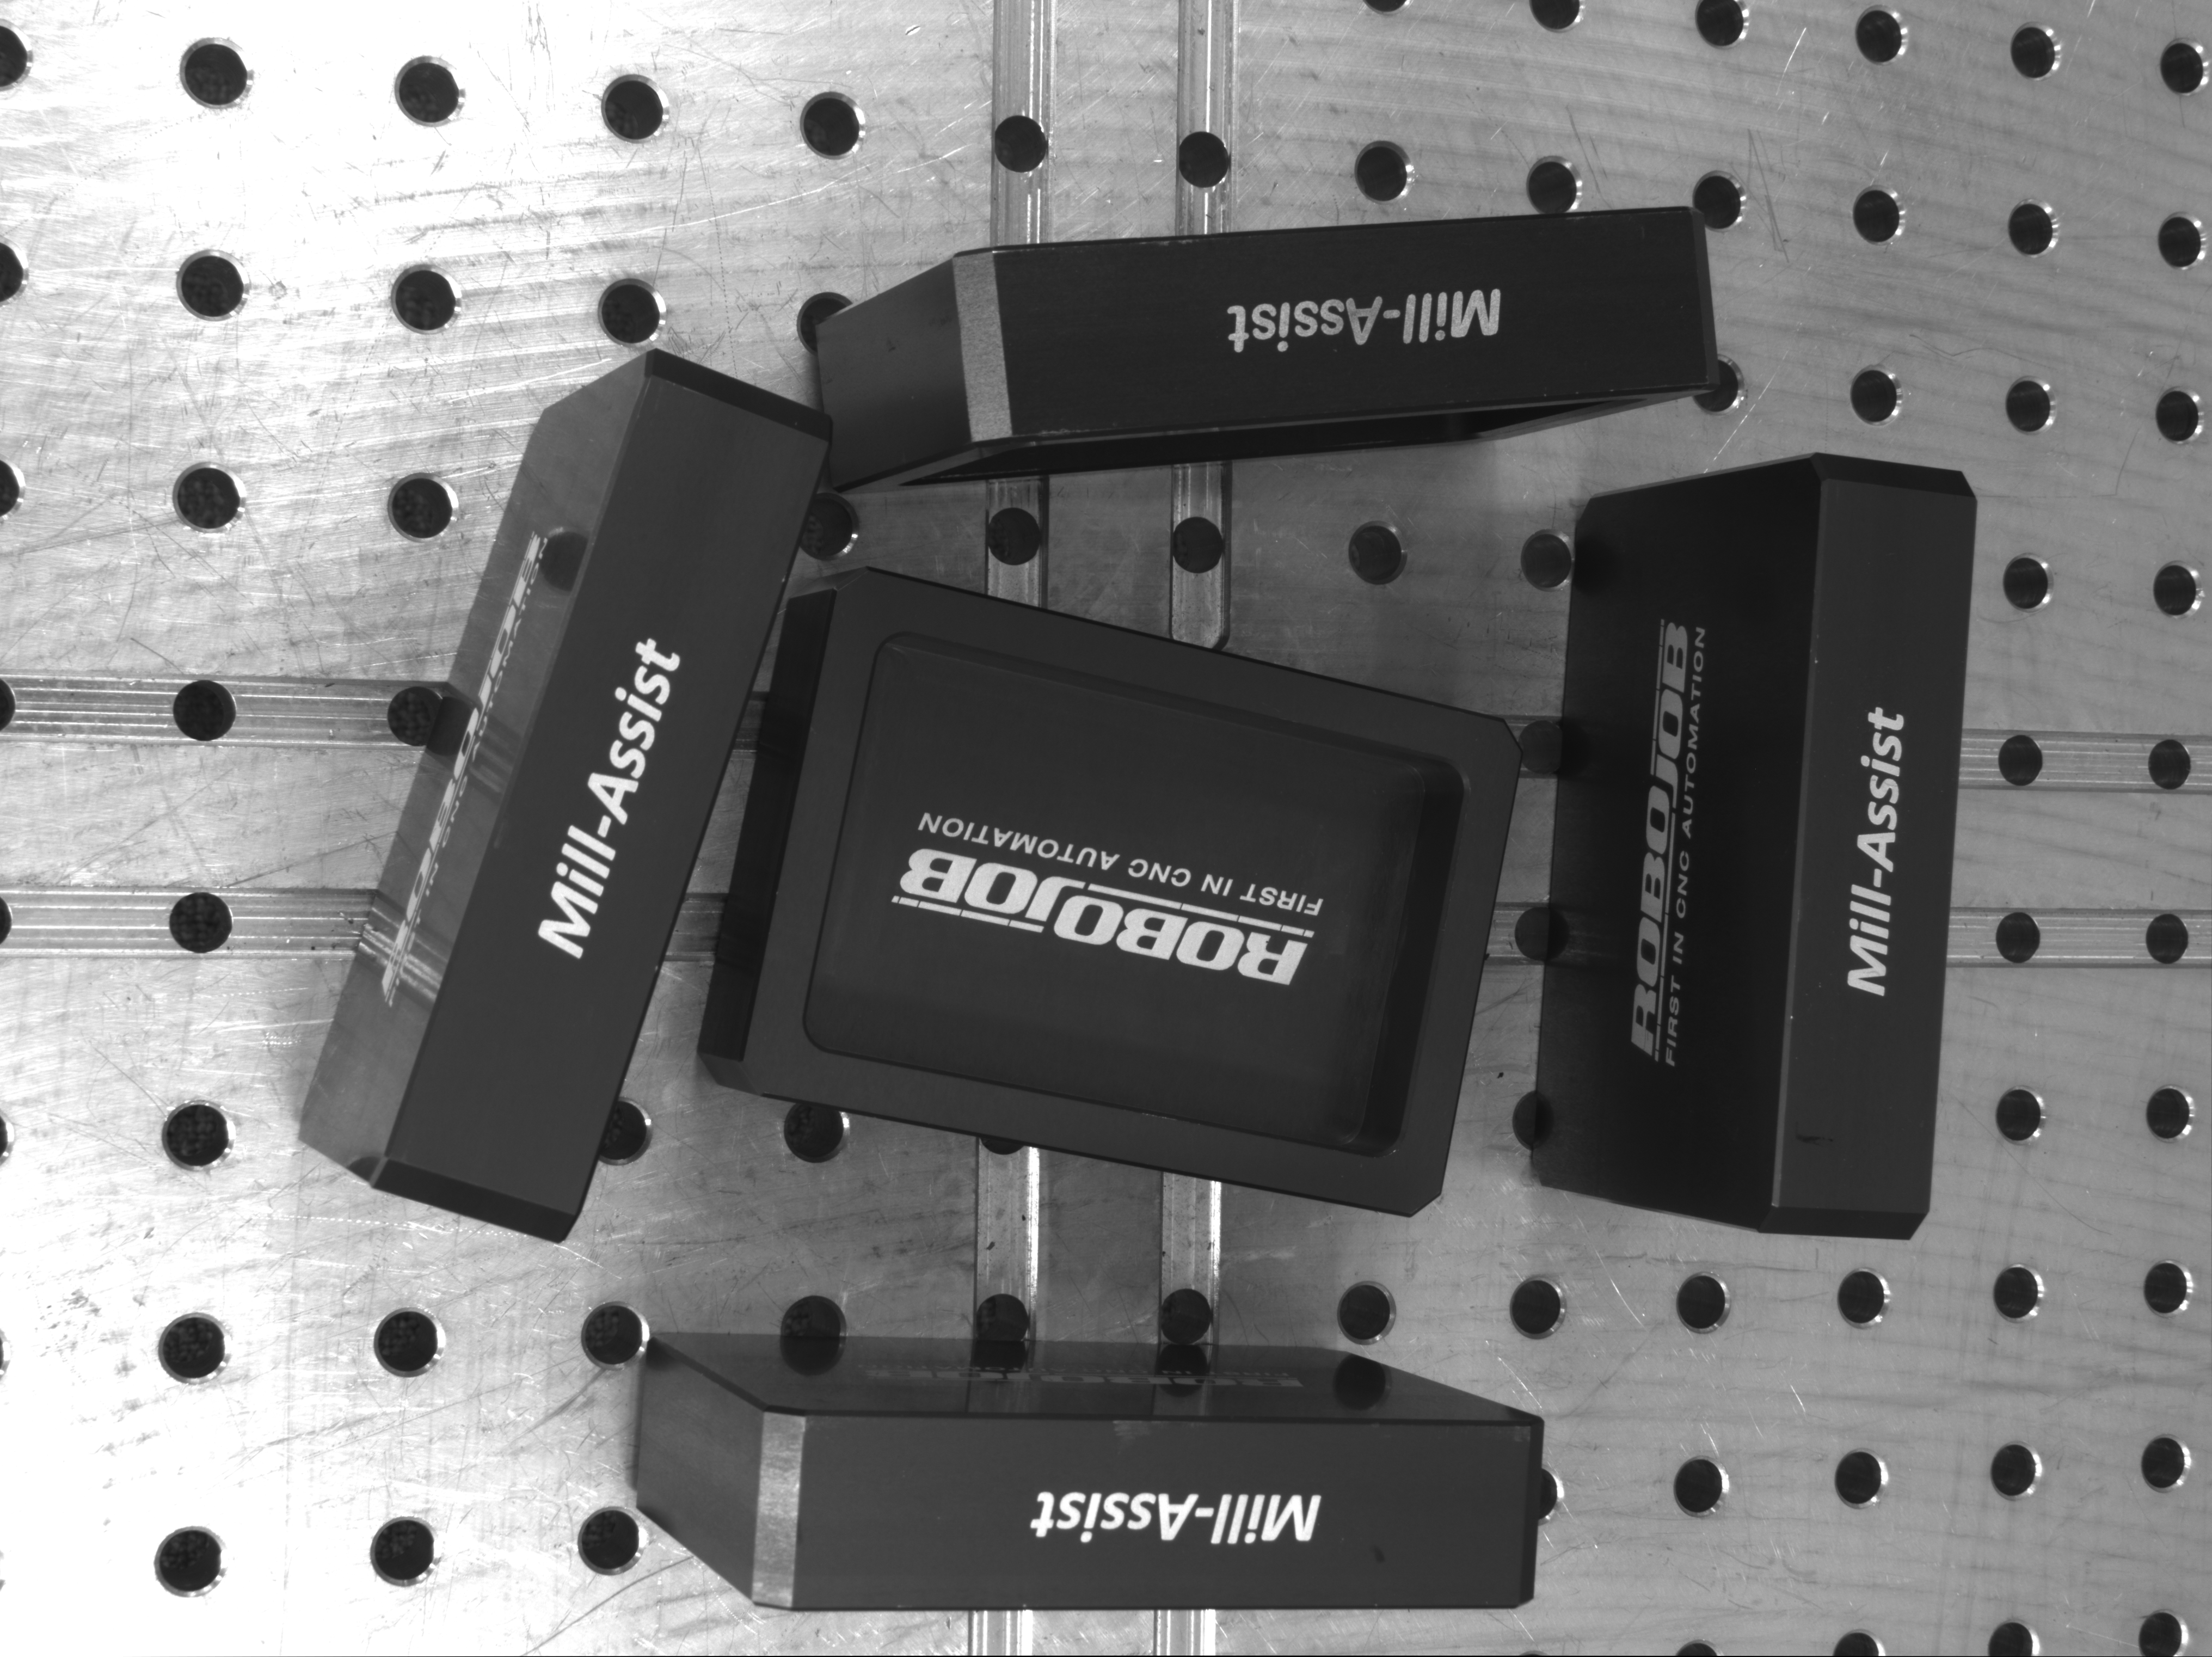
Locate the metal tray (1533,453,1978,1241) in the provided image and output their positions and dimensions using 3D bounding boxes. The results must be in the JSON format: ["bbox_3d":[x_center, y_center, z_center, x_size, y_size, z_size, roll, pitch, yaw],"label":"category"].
[{"bbox_3d":[0.113,0.004,0.652,0.030,0.090,0.130,5,88,-20],"label":"metal tray"}]

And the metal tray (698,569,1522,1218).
[{"bbox_3d":[0.002,0.013,0.643,0.130,0.030,0.090,12,86,-20],"label":"metal tray"}]

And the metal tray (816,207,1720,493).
[{"bbox_3d":[0.026,-0.080,0.620,0.130,0.090,0.030,-7,92,-19],"label":"metal tray"}]

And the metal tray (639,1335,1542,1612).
[{"bbox_3d":[-0.005,0.106,0.610,0.130,0.090,0.030,4,89,-19],"label":"metal tray"}]

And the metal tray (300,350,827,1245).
[{"bbox_3d":[-0.088,-0.005,0.580,0.030,0.090,0.130,19,83,-18],"label":"metal tray"}]
